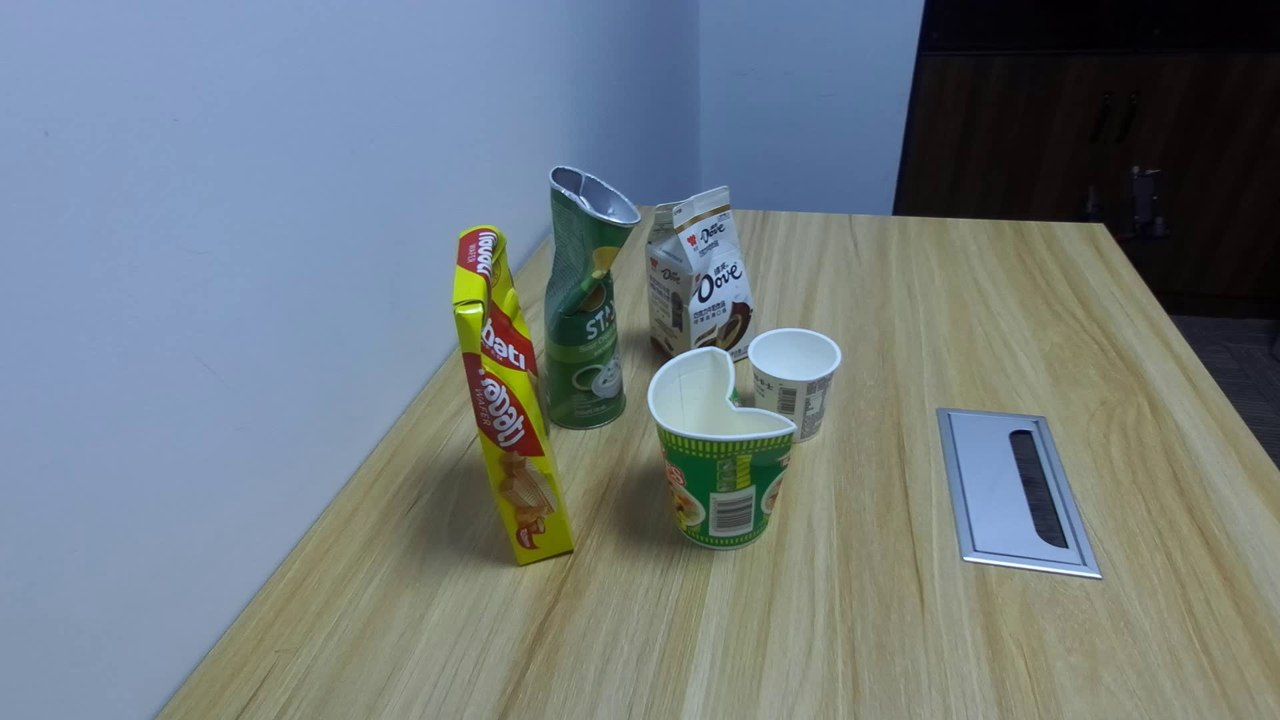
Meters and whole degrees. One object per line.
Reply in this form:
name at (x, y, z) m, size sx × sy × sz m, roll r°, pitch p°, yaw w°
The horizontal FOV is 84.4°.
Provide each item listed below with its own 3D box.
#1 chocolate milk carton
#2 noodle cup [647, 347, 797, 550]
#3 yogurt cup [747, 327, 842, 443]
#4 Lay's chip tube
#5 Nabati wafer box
chocolate milk carton at (0.056, -0.074, 0.624) m, size 0.084 × 0.155 × 0.072 m, roll -20°, pitch 37°, yaw -23°
noodle cup at (0.051, 0.062, 0.465) m, size 0.087 × 0.109 × 0.093 m, roll -3°, pitch 35°, yaw 2°
yogurt cup at (0.118, 0.022, 0.553) m, size 0.072 × 0.068 × 0.072 m, roll -3°, pitch 35°, yaw 2°
Lay's chip tube at (-0.040, -0.041, 0.552) m, size 0.071 × 0.199 × 0.079 m, roll 1°, pitch 36°, yaw -5°
Nabati wafer box at (-0.082, 0.027, 0.449) m, size 0.043 × 0.205 × 0.113 m, roll -12°, pitch 36°, yaw -10°
